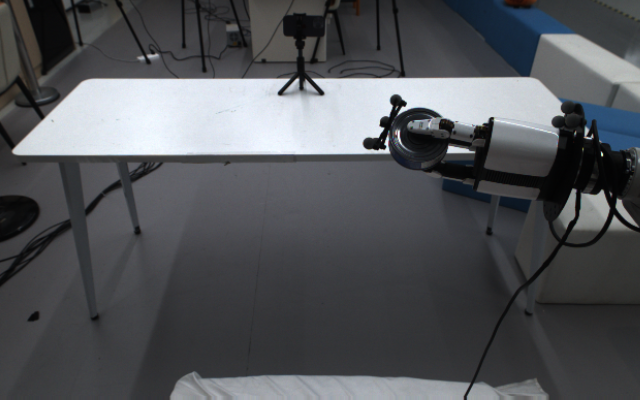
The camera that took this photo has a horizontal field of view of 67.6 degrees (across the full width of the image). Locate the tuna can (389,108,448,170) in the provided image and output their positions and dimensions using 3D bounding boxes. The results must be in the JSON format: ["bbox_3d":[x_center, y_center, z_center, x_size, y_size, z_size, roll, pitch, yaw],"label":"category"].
[{"bbox_3d":[0.142,-0.090,0.692,0.085,0.034,0.085,-2,71,5],"label":"tuna can"}]
